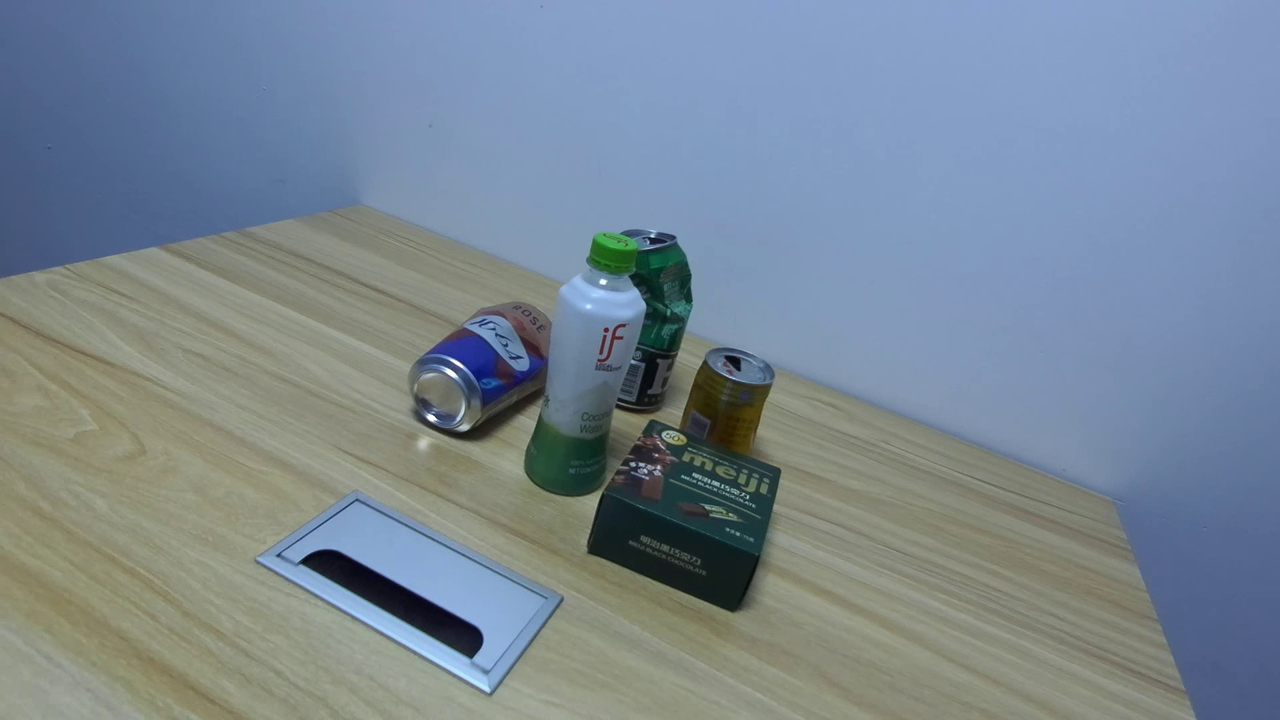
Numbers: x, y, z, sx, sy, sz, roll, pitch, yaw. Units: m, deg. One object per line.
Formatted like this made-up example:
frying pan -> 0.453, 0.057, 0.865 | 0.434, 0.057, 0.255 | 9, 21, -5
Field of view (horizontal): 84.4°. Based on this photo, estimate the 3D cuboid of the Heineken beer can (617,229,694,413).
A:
Heineken beer can -> 0.004, -0.034, 0.637 | 0.079, 0.159, 0.067 | 3, 23, -6

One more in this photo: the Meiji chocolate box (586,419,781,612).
Meiji chocolate box -> 0.035, 0.105, 0.499 | 0.110, 0.056, 0.109 | 20, 27, 11

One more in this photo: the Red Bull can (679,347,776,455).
Red Bull can -> 0.070, 0.043, 0.591 | 0.069, 0.092, 0.069 | 13, 25, -6

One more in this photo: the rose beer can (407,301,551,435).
rose beer can -> -0.126, 0.000, 0.608 | 0.069, 0.069, 0.168 | 2, 23, 20

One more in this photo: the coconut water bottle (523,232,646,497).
coconut water bottle -> -0.037, 0.004, 0.504 | 0.063, 0.188, 0.063 | 12, 26, -6
